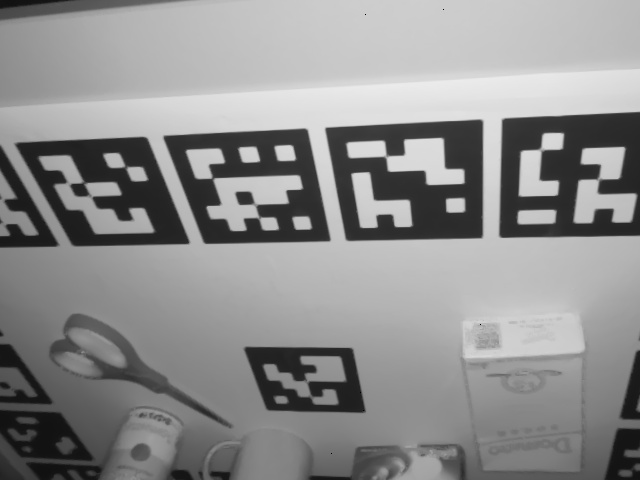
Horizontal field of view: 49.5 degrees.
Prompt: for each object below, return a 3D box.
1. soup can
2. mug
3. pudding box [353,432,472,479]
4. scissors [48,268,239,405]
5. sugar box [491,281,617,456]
[{"bbox_3d":[-0.175,0.202,0.690,0.068,0.103,0.067,4,130,5],"label":"soup can"},{"bbox_3d":[-0.056,0.231,0.698,0.092,0.082,0.117,-34,118,27],"label":"mug"},{"bbox_3d":[0.089,0.235,0.669,0.113,0.091,0.038,-8,120,15],"label":"pudding box"},{"bbox_3d":[-0.159,0.106,0.655,0.203,0.016,0.086,38,114,-19],"label":"scissors"},{"bbox_3d":[0.197,0.117,0.598,0.092,0.046,0.175,-4,126,10],"label":"sugar box"}]
